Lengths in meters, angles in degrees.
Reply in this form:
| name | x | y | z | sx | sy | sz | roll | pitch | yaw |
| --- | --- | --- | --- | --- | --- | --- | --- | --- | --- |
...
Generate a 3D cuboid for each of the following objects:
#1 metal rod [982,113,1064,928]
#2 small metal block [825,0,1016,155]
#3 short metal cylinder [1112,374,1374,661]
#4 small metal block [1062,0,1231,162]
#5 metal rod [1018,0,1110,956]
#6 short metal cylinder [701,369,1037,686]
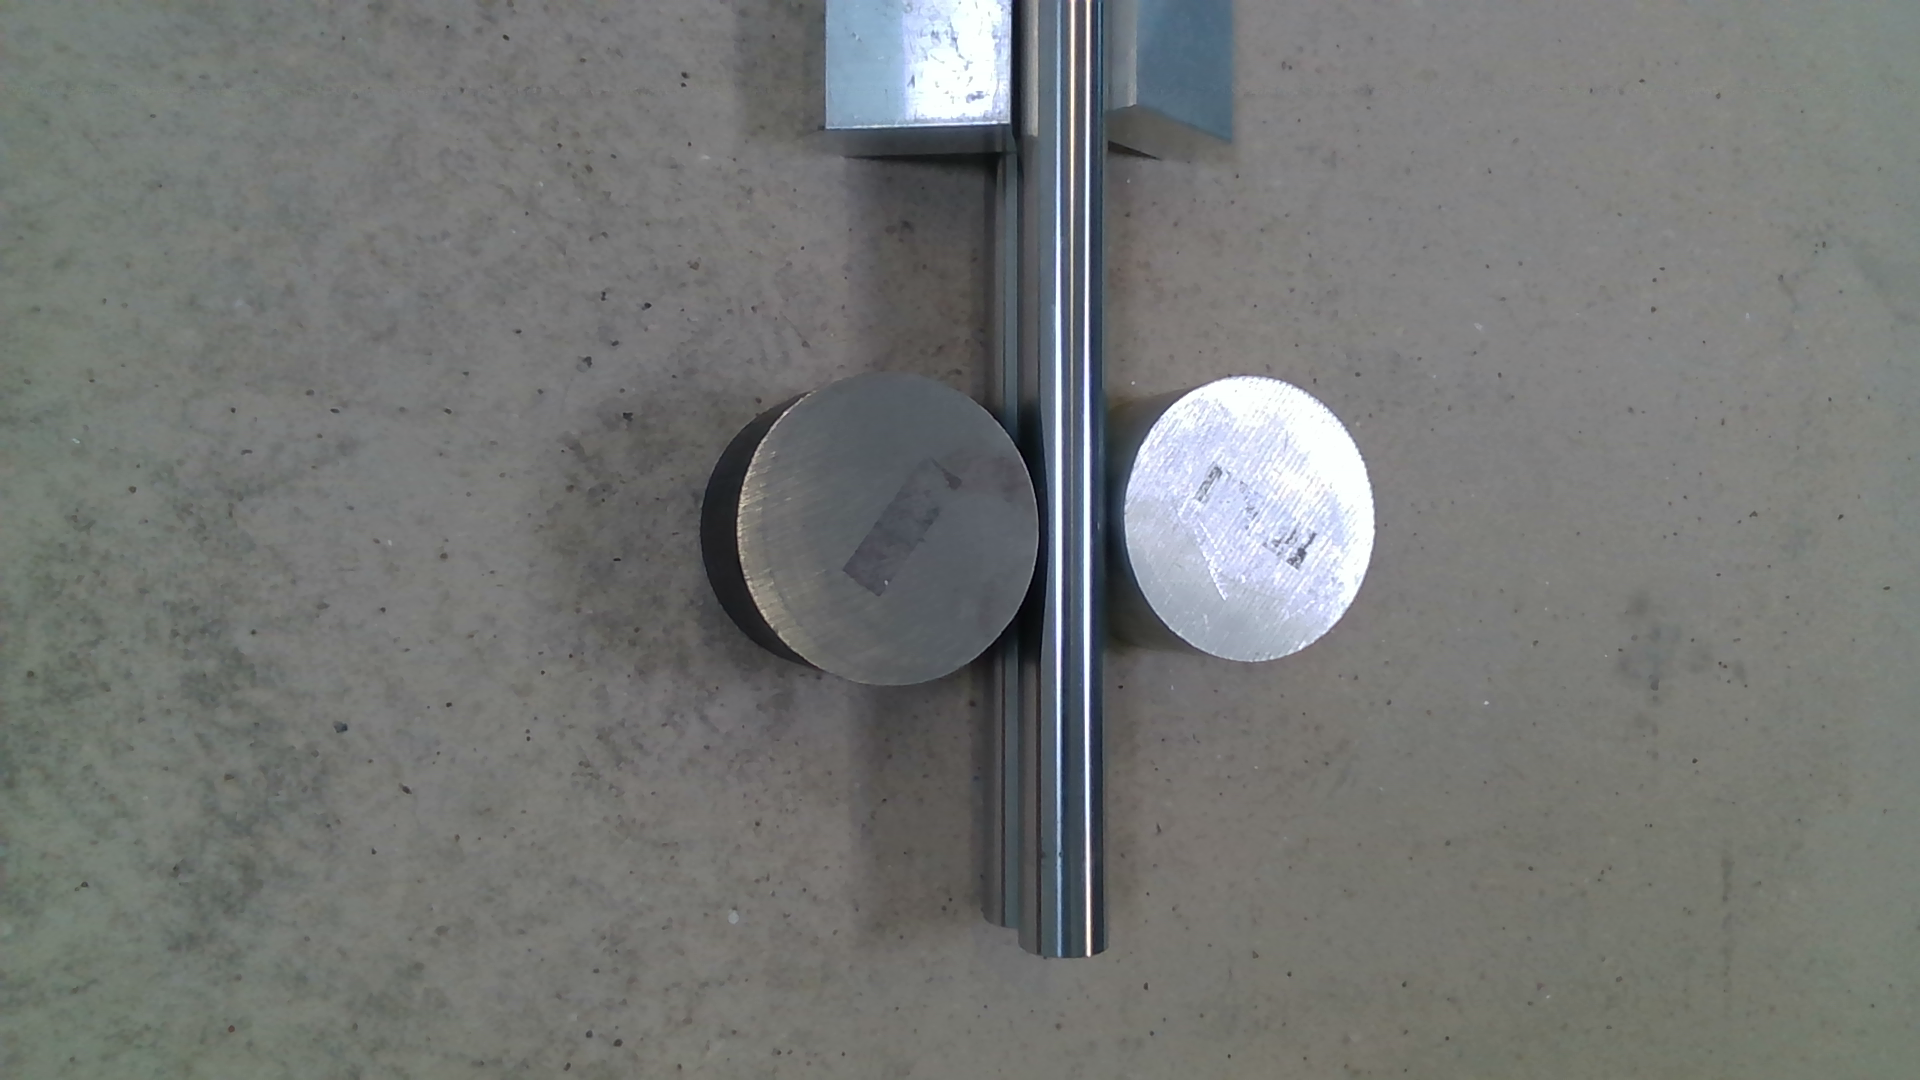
| name | x | y | z | sx | sy | sz | roll | pitch | yaw |
| --- | --- | --- | --- | --- | --- | --- | --- | --- | --- |
| metal rod | 0.019 | -0.040 | 0.401 | 0.025 | 0.025 | 0.300 | 0 | 90 | -20 |
| small metal block | -0.010 | -0.135 | 0.380 | 0.050 | 0.025 | 0.050 | 1 | 90 | 6 |
| short metal cylinder | 0.074 | -0.006 | 0.408 | 0.080 | 0.050 | 0.080 | 0 | 90 | -20 |
| small metal block | 0.055 | -0.144 | 0.404 | 0.050 | 0.025 | 0.050 | 0 | 90 | -47 |
| metal rod | 0.029 | -0.039 | 0.378 | 0.025 | 0.025 | 0.300 | 0 | 90 | -20 |
| short metal cylinder | -0.026 | -0.003 | 0.371 | 0.080 | 0.050 | 0.080 | 0 | 90 | -20 |
